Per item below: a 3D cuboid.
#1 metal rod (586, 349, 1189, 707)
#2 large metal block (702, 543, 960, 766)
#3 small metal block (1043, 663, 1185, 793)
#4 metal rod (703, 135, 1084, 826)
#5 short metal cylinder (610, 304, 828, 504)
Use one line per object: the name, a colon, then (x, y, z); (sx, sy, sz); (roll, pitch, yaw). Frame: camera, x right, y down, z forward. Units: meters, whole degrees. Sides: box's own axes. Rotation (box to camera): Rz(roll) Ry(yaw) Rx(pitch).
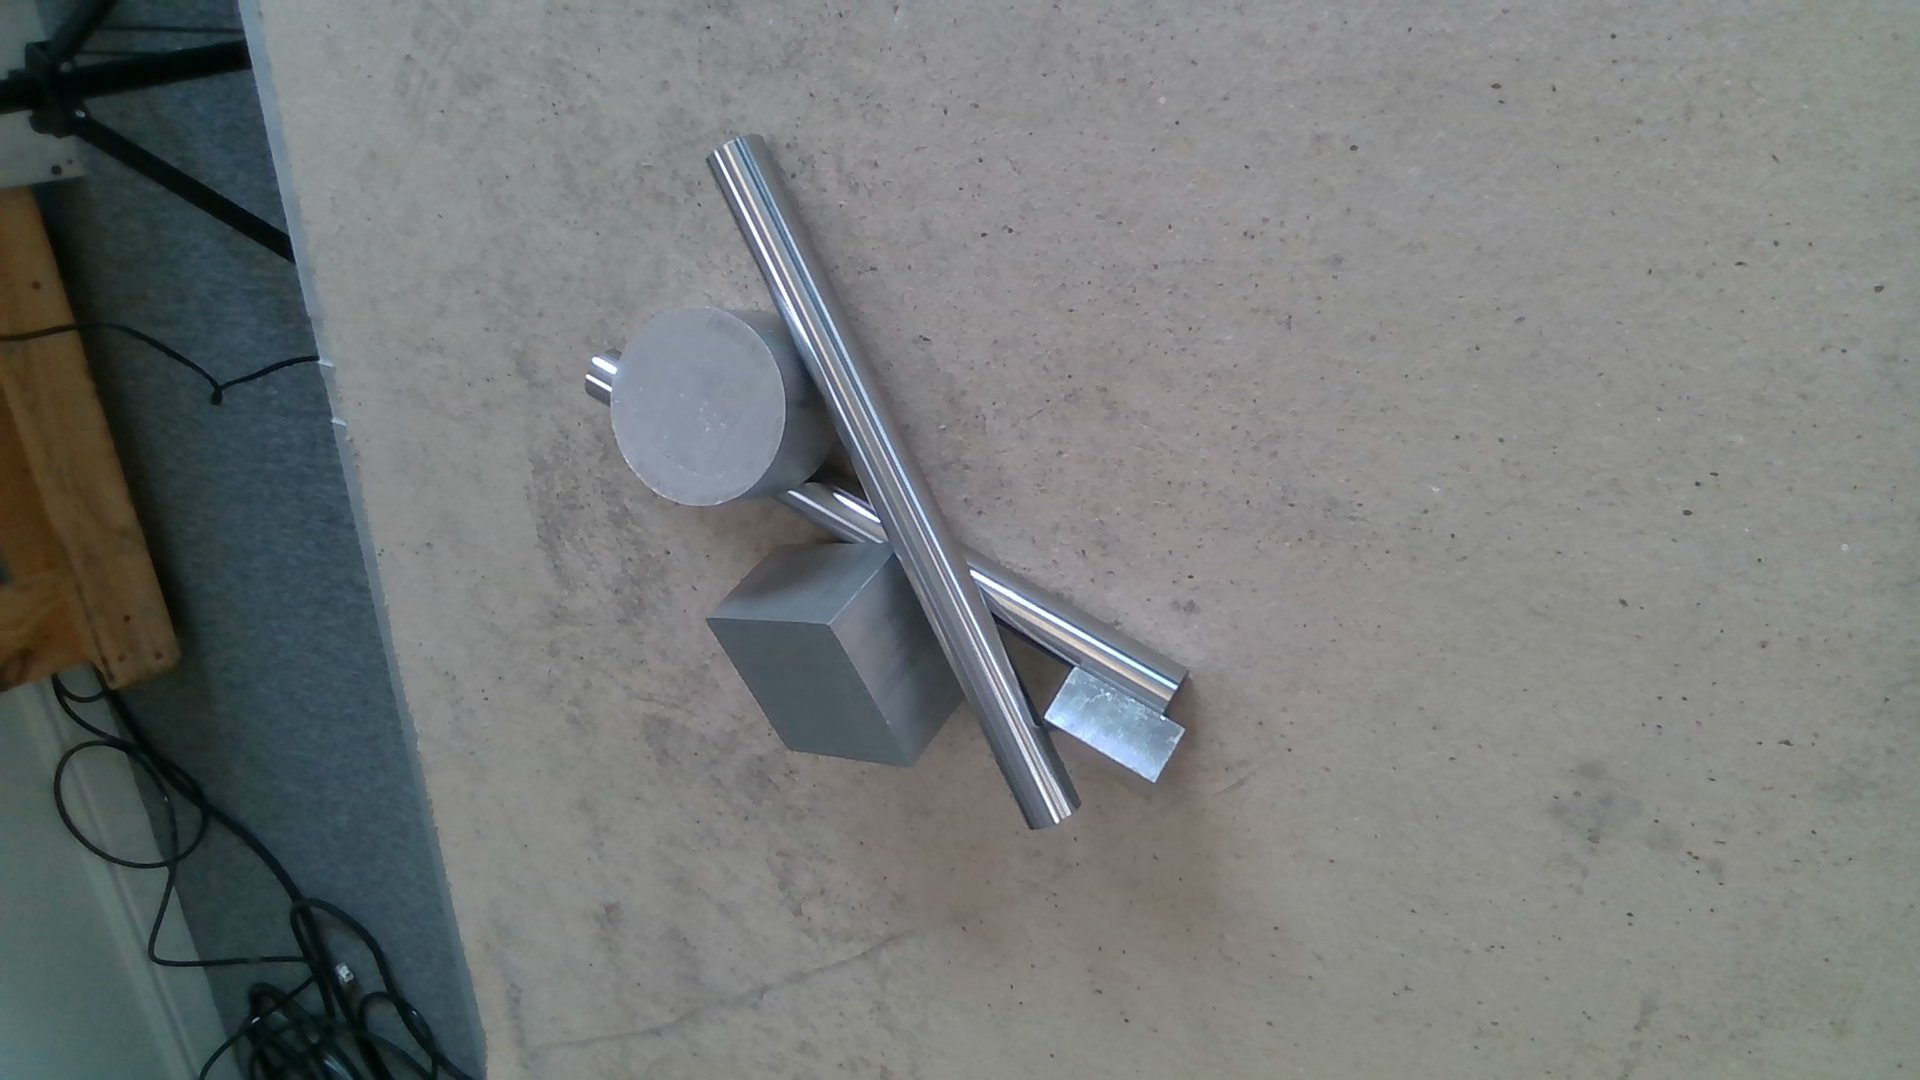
metal rod: (-0.039, -0.007, 0.600); (0.300, 0.025, 0.025); (29, 127, 15)
large metal block: (-0.053, 0.048, 0.604); (0.080, 0.050, 0.080); (0, 128, 41)
small metal block: (0.064, 0.080, 0.569); (0.050, 0.025, 0.050); (29, 166, 15)
metal rod: (-0.026, -0.022, 0.562); (0.025, 0.025, 0.300); (-23, 95, 38)
short metal cylinder: (-0.098, -0.057, 0.577); (0.080, 0.050, 0.080); (3, 97, 20)
